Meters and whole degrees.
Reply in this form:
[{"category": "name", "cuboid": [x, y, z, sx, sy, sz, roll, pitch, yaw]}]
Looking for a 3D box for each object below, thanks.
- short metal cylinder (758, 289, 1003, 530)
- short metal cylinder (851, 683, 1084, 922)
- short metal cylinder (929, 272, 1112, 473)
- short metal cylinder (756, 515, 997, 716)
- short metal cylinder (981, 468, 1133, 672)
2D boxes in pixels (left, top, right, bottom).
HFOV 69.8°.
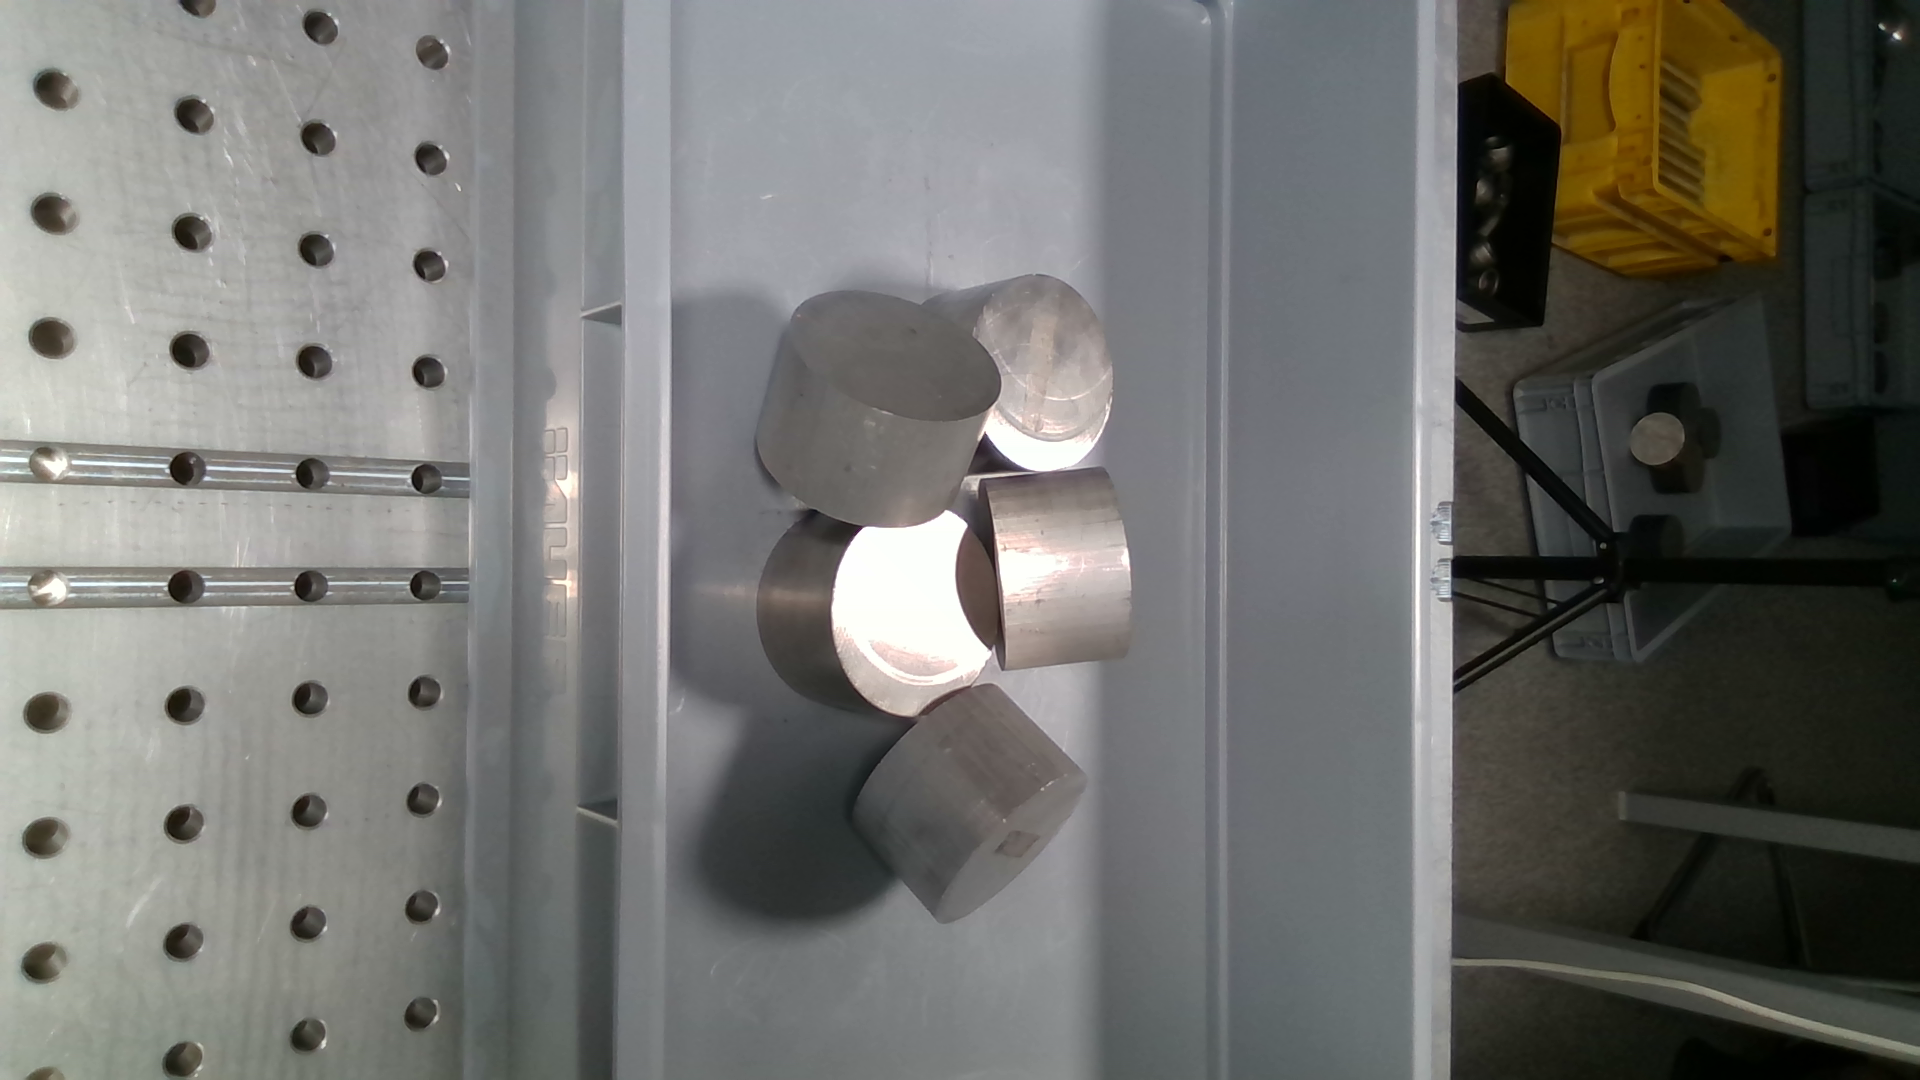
[{"category": "short metal cylinder", "cuboid": [-0.030, -0.049, 0.511, 0.080, 0.080, 0.050, -15, 141, -39]}, {"category": "short metal cylinder", "cuboid": [0.004, 0.103, 0.542, 0.080, 0.050, 0.080, -37, 154, -21]}, {"category": "short metal cylinder", "cuboid": [0.018, -0.069, 0.579, 0.080, 0.050, 0.080, 0, 90, -40]}, {"category": "short metal cylinder", "cuboid": [-0.032, 0.026, 0.538, 0.080, 0.050, 0.080, 0, 90, -40]}, {"category": "short metal cylinder", "cuboid": [0.038, 0.012, 0.568, 0.050, 0.080, 0.080, -7, 95, -4]}]
